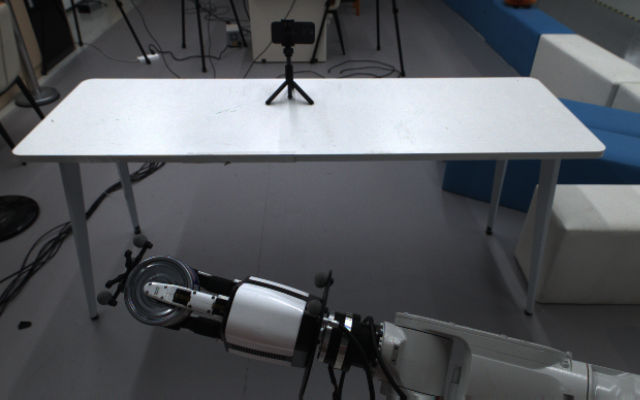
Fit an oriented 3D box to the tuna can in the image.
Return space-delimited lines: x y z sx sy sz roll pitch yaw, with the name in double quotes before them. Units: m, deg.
"tuna can" -0.192 0.111 0.597 0.085 0.034 0.085 0 75 -1
